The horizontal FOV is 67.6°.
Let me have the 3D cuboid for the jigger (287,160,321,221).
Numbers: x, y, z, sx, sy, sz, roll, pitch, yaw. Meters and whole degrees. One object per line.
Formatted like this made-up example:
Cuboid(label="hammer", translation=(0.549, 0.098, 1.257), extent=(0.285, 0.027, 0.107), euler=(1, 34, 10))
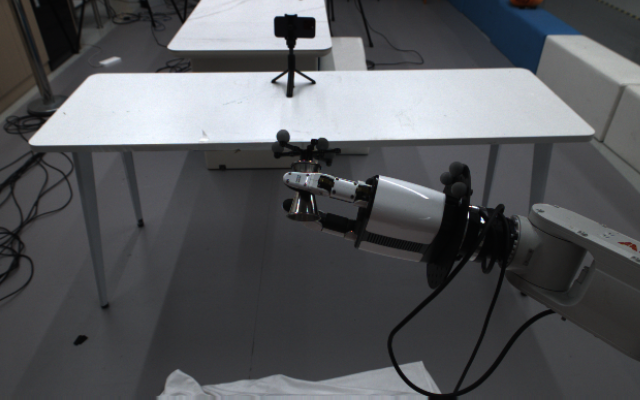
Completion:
Cuboid(label="jigger", translation=(-0.020, -0.012, 0.603), extent=(0.043, 0.043, 0.071), euler=(3, 76, 1))
